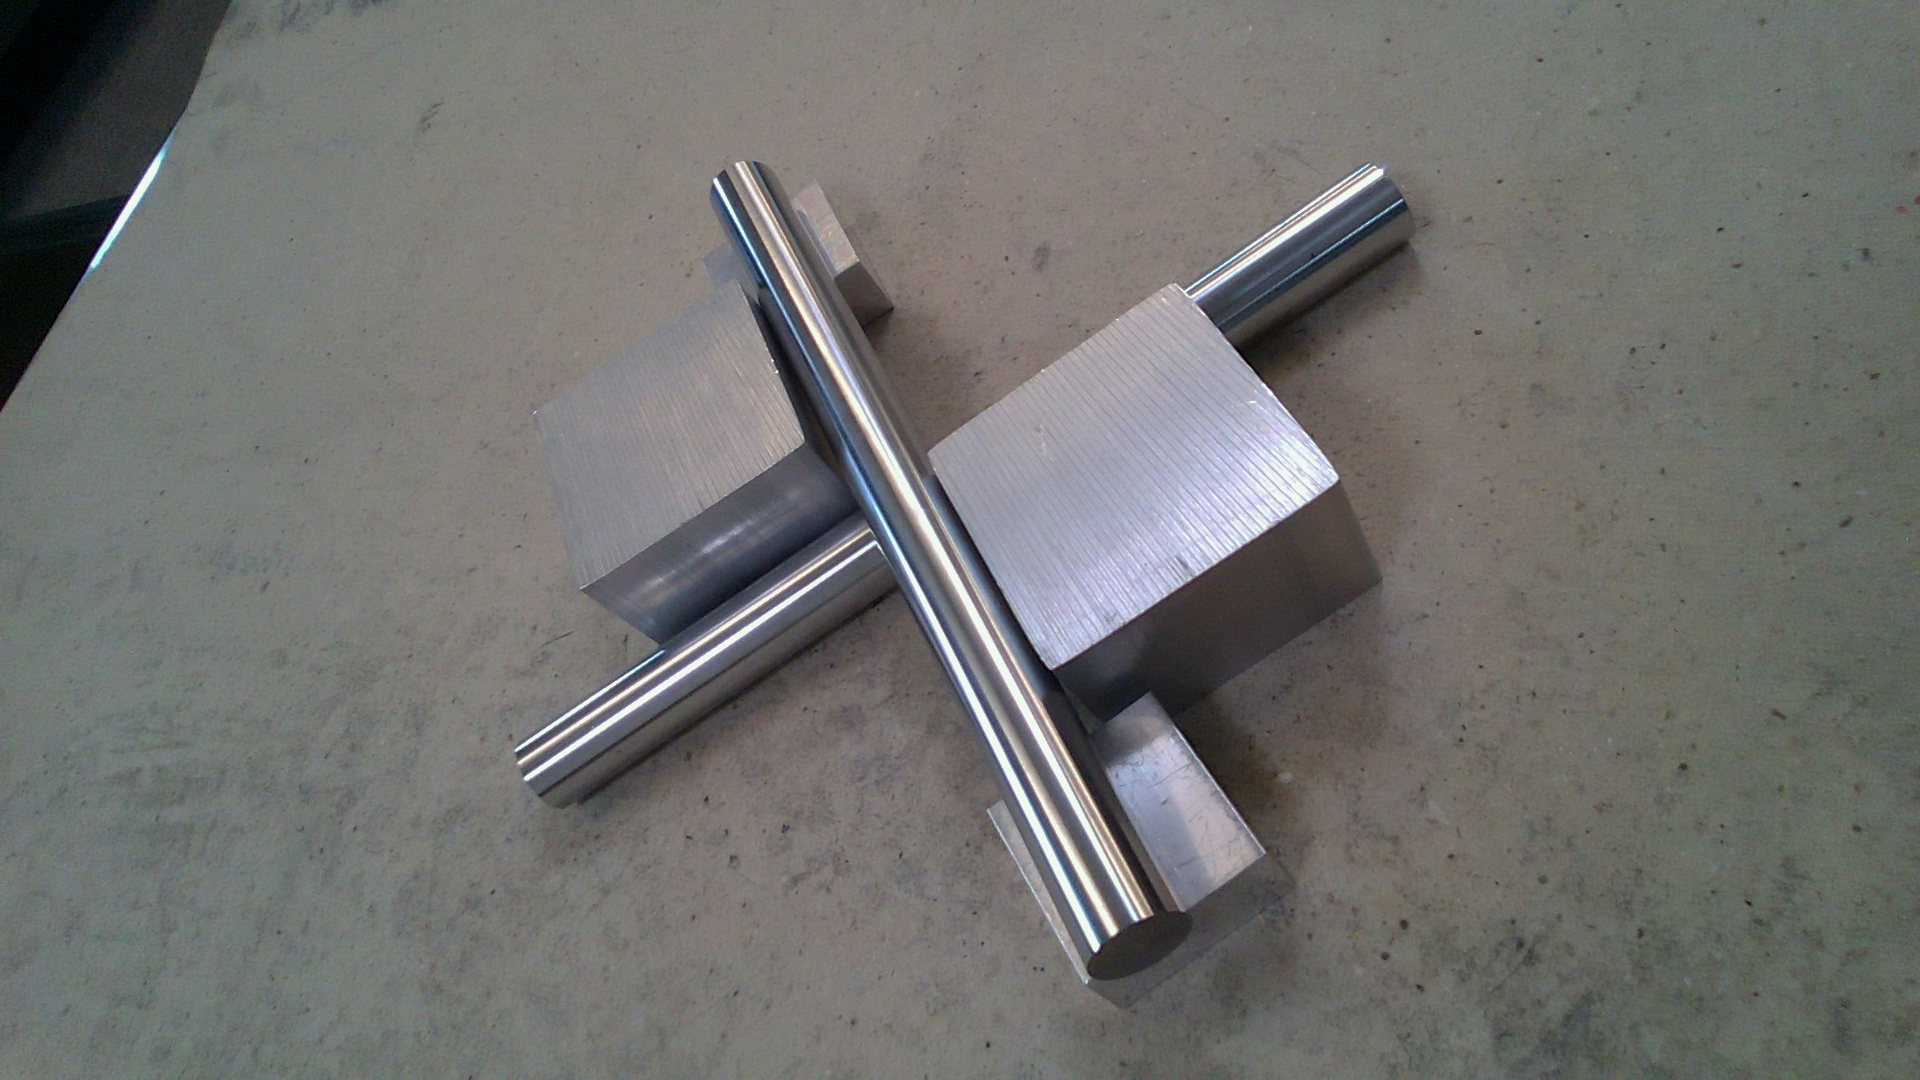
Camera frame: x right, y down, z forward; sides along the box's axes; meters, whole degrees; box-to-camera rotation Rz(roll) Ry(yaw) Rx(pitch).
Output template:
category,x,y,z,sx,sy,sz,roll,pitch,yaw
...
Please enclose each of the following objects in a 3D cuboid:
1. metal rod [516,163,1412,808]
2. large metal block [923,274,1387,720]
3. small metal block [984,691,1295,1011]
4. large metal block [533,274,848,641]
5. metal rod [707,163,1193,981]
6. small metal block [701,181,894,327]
category,x,y,z,sx,sy,sz,roll,pitch,yaw
metal rod,-0.003,-0.012,0.404,0.300,0.025,0.025,-34,51,6
large metal block,0.049,-0.008,0.356,0.080,0.050,0.080,-34,51,6
small metal block,0.042,0.073,0.327,0.050,0.025,0.050,-37,51,3
large metal block,-0.080,-0.023,0.433,0.080,0.050,0.080,-32,51,7
metal rod,-0.019,-0.017,0.381,0.025,0.025,0.299,-34,51,6
small metal block,-0.058,-0.090,0.482,0.050,0.025,0.050,-33,51,7
